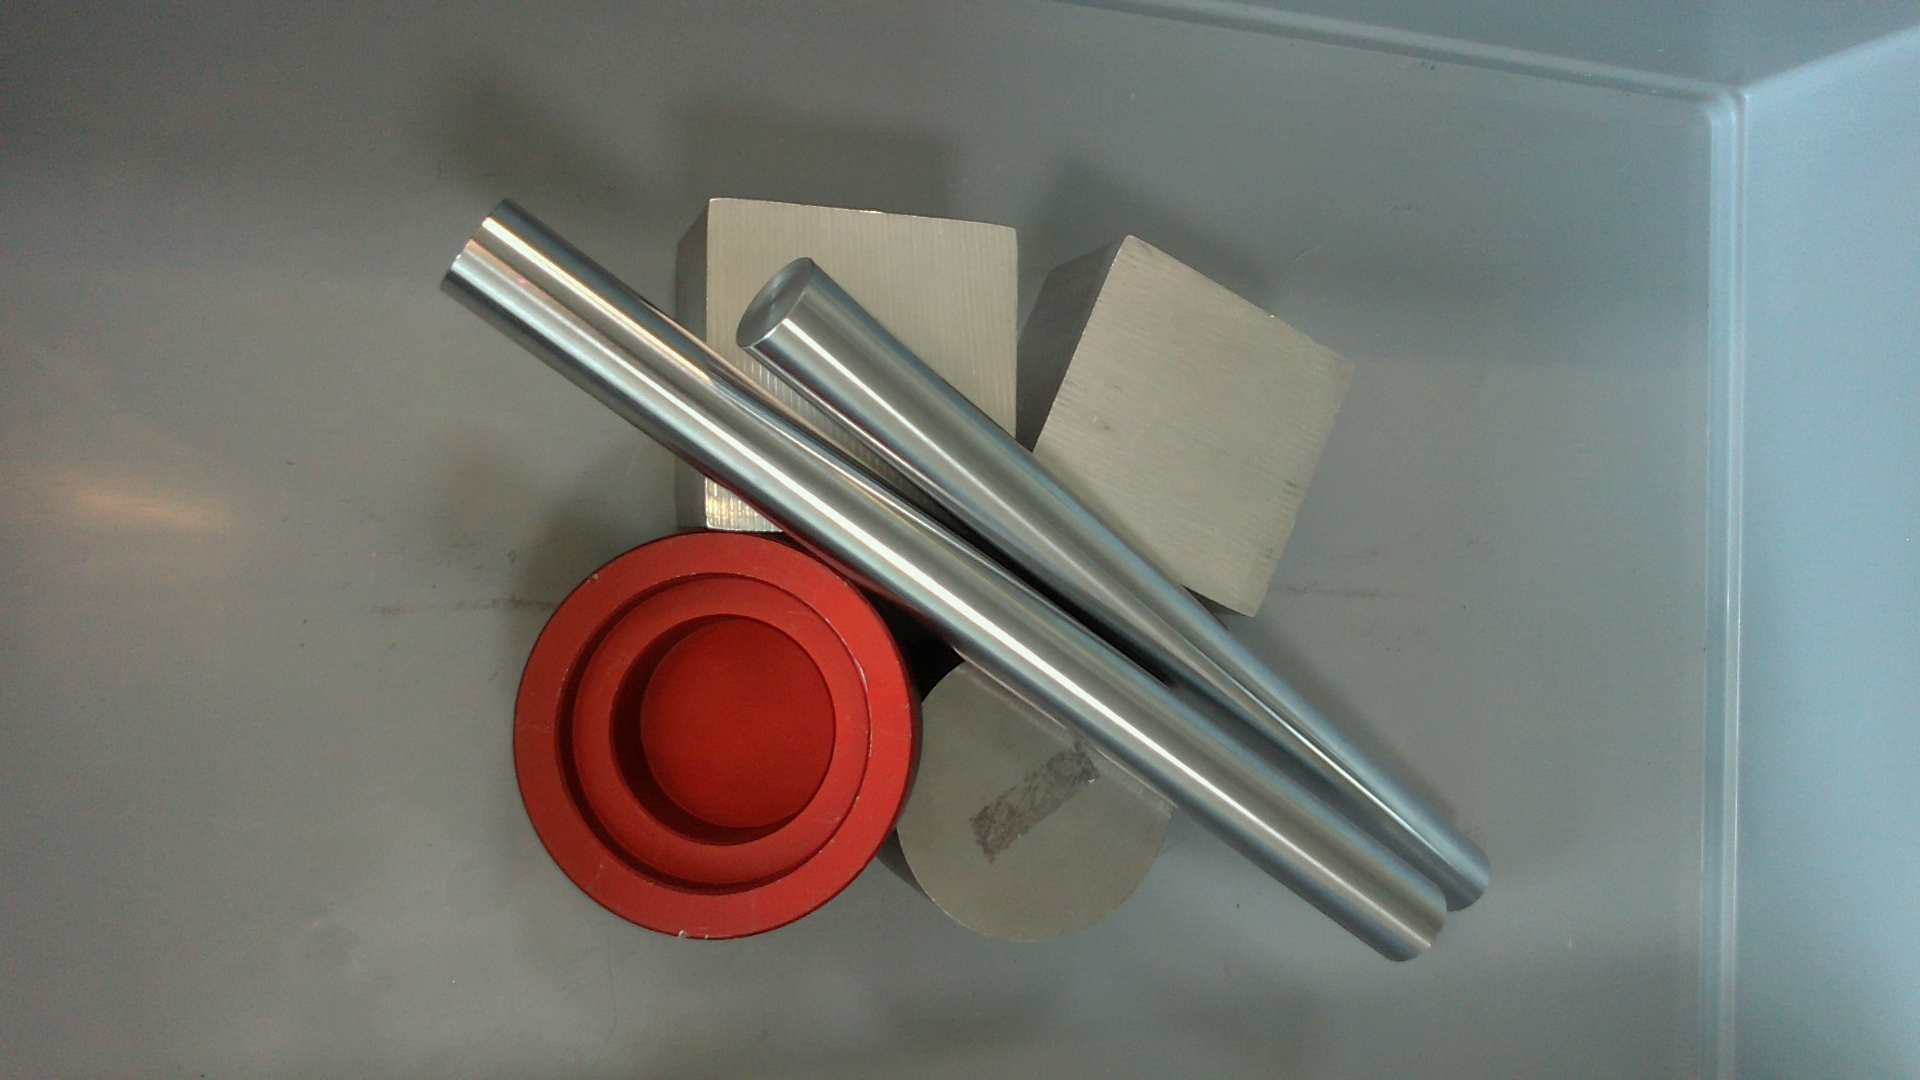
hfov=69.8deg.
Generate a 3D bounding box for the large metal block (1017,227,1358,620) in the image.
[{"bbox_3d":[0.055,-0.031,0.398,0.080,0.050,0.080,26,82,-18],"label":"large metal block"}]

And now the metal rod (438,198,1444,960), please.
[{"bbox_3d":[0.010,0.021,0.342,0.301,0.025,0.025,36,78,-17],"label":"metal rod"}]

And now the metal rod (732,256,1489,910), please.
[{"bbox_3d":[0.060,0.029,0.375,0.301,0.025,0.025,38,78,-31],"label":"metal rod"}]

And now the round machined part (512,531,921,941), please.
[{"bbox_3d":[-0.058,0.048,0.350,0.098,0.042,0.098,0,87,4],"label":"round machined part"}]

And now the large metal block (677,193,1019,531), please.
[{"bbox_3d":[-0.031,-0.042,0.364,0.080,0.050,0.080,1,90,-20],"label":"large metal block"}]

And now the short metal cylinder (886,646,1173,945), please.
[{"bbox_3d":[0.013,0.066,0.383,0.080,0.050,0.080,0,90,-20],"label":"short metal cylinder"}]
